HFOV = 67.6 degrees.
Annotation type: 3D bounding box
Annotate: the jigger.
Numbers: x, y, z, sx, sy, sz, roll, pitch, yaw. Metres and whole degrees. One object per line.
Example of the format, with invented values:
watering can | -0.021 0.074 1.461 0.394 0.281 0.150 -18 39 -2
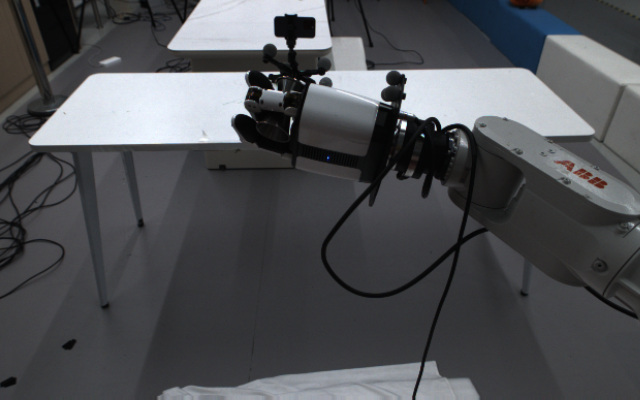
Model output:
jigger | -0.042 -0.108 0.586 0.043 0.043 0.071 12 71 14
